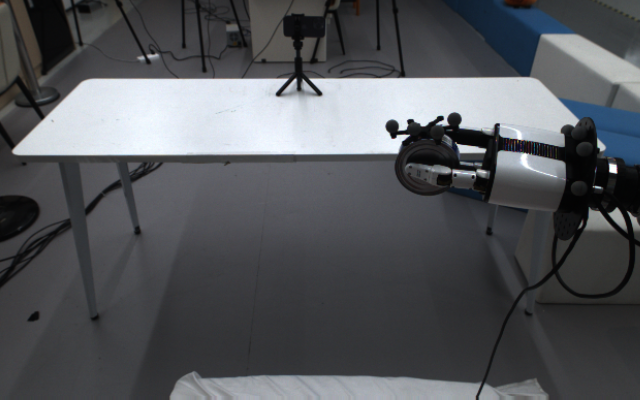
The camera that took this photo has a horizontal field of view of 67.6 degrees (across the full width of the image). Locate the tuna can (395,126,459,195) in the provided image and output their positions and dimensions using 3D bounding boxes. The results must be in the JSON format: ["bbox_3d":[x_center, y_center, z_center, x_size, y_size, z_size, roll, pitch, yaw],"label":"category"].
[{"bbox_3d":[0.147,-0.052,0.658,0.085,0.085,0.034,10,33,11],"label":"tuna can"}]
